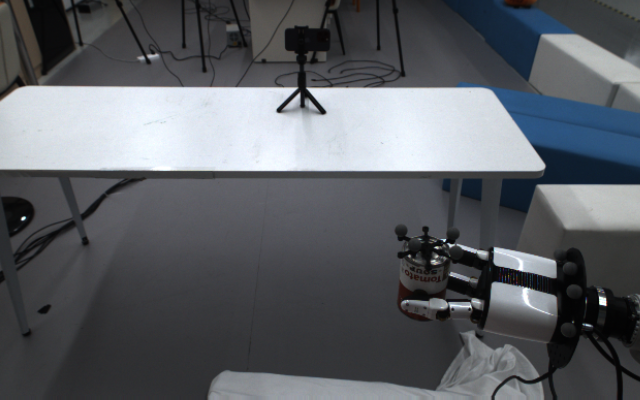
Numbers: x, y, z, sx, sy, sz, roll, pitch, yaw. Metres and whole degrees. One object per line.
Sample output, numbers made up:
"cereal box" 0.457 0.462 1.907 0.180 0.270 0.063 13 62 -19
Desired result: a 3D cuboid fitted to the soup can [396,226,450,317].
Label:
"soup can" 0.147 0.107 0.675 0.067 0.101 0.067 -2 34 1
